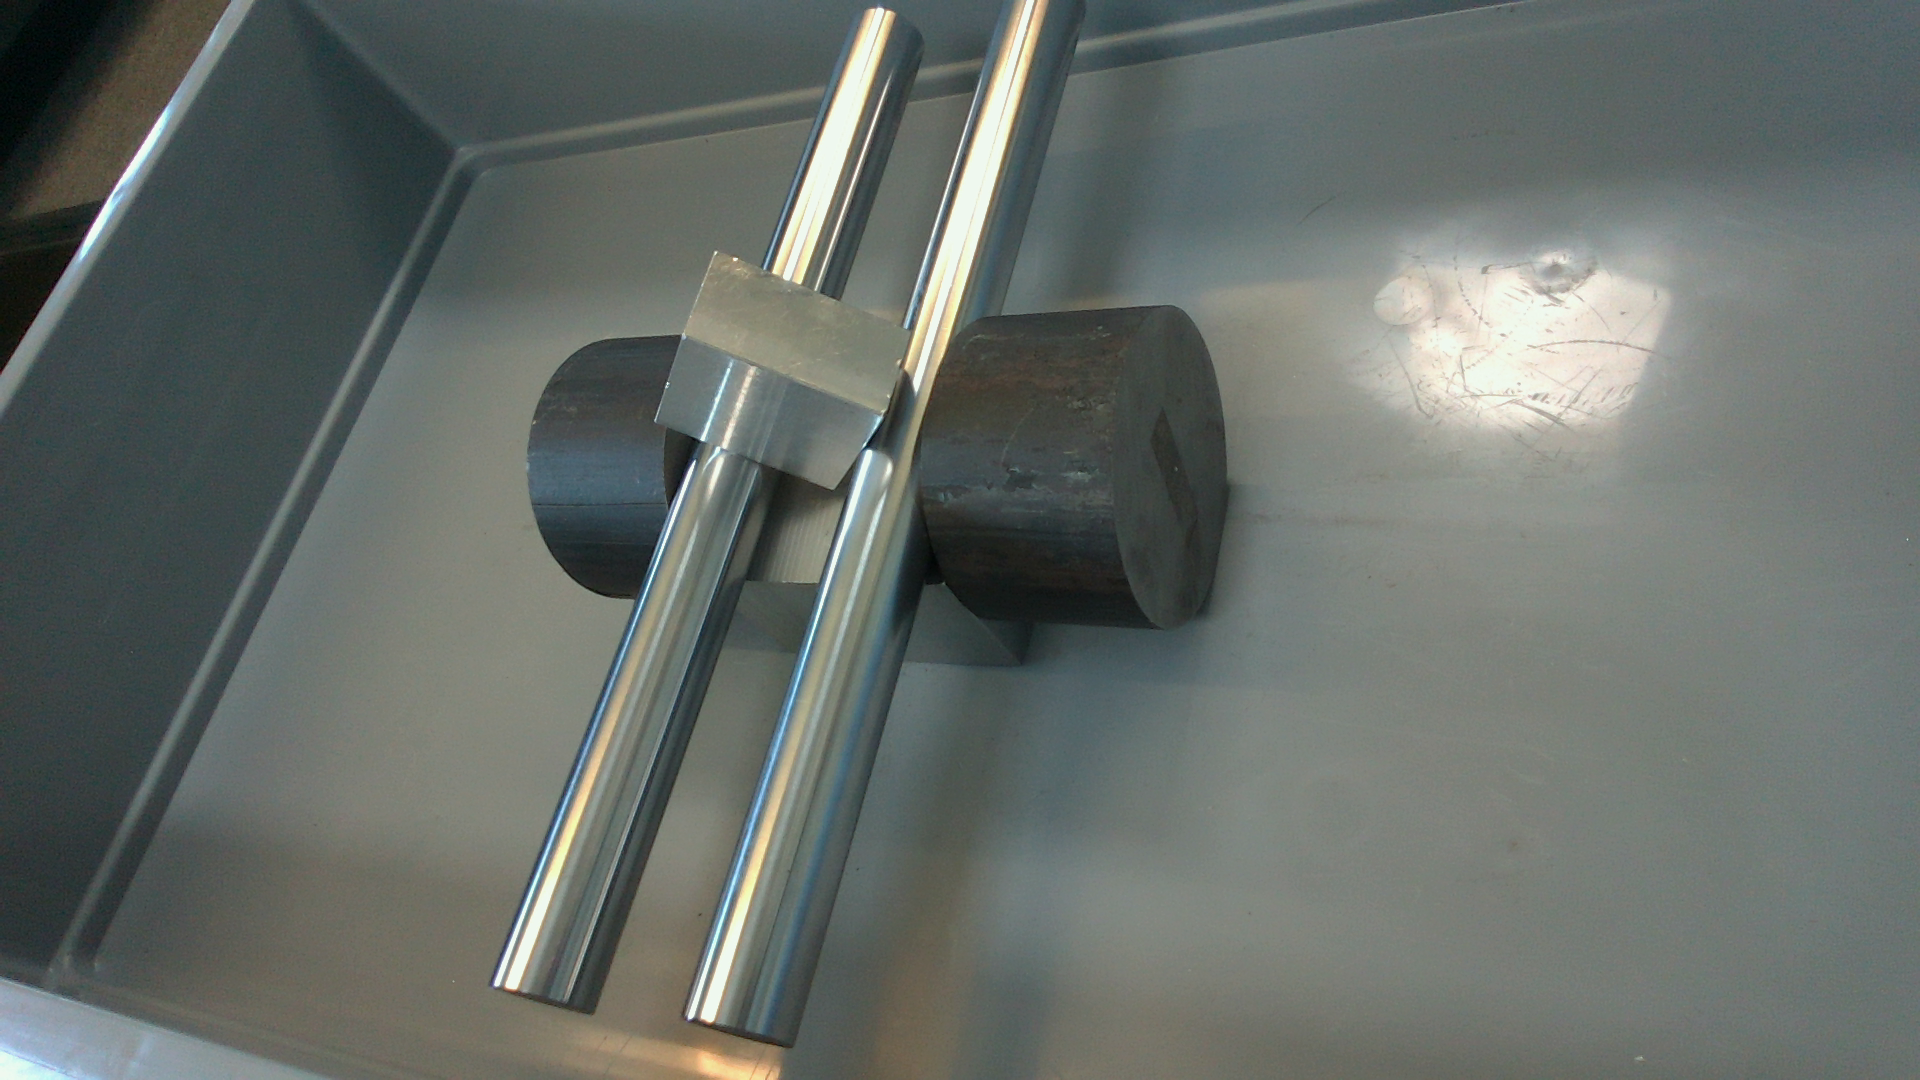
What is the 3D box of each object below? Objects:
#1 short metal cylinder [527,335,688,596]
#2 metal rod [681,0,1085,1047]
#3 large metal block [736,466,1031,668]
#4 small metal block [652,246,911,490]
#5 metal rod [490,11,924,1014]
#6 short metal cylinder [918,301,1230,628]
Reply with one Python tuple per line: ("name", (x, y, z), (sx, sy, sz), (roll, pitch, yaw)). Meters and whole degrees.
("short metal cylinder", (-0.082, -0.022, 0.415), (0.050, 0.080, 0.080), (1, 62, 29))
("metal rod", (-0.011, -0.028, 0.351), (0.025, 0.025, 0.300), (1, 62, 29))
("large metal block", (-0.019, -0.012, 0.394), (0.080, 0.050, 0.080), (1, 62, 29))
("small metal block", (-0.046, -0.041, 0.345), (0.050, 0.050, 0.025), (136, 152, -62))
("metal rod", (-0.059, -0.027, 0.377), (0.025, 0.025, 0.300), (1, 62, 29))
("short metal cylinder", (0.032, -0.018, 0.350), (0.050, 0.080, 0.080), (0, 62, 30))
